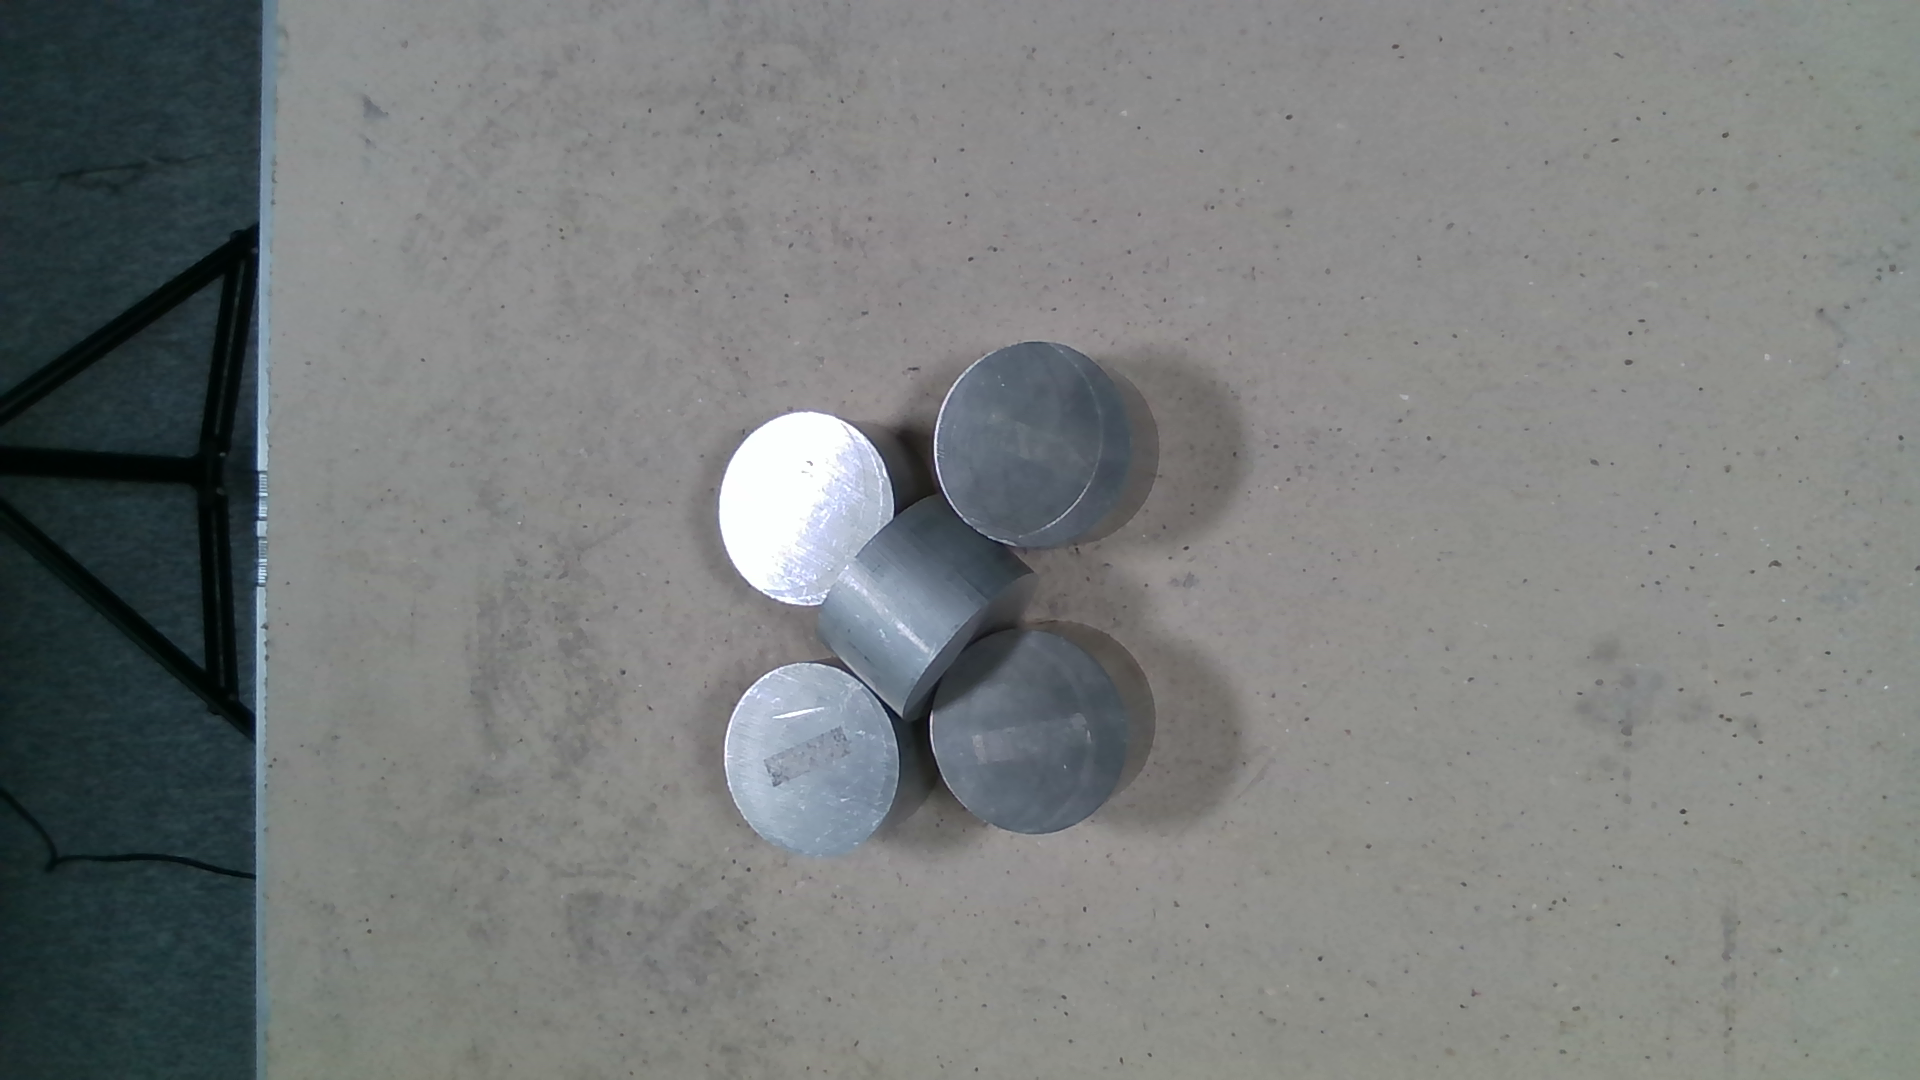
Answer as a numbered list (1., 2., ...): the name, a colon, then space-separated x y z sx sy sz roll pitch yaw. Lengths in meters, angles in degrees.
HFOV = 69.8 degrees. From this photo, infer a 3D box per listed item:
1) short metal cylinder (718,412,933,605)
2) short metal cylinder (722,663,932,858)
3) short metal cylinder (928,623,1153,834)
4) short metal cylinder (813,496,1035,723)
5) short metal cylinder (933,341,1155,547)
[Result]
1. short metal cylinder: -0.056 -0.013 0.592 0.080 0.050 0.080 0 90 20
2. short metal cylinder: -0.054 0.091 0.592 0.080 0.050 0.080 0 90 20
3. short metal cylinder: 0.033 0.074 0.559 0.080 0.050 0.080 0 90 20
4. short metal cylinder: -0.014 0.029 0.562 0.050 0.080 0.080 41 104 15
5. short metal cylinder: 0.035 -0.037 0.558 0.080 0.050 0.080 0 90 20
